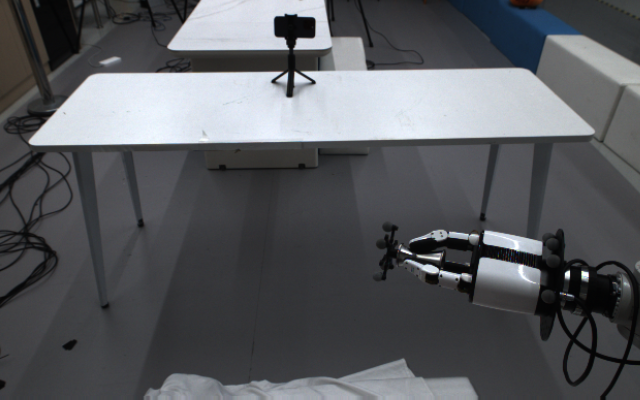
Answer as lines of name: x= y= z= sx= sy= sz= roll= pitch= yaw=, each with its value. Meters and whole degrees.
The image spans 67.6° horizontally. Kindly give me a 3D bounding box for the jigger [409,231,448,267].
jigger: x=0.162 y=0.088 z=0.748 sx=0.071 sy=0.043 sz=0.043 roll=10 pitch=35 yaw=22
